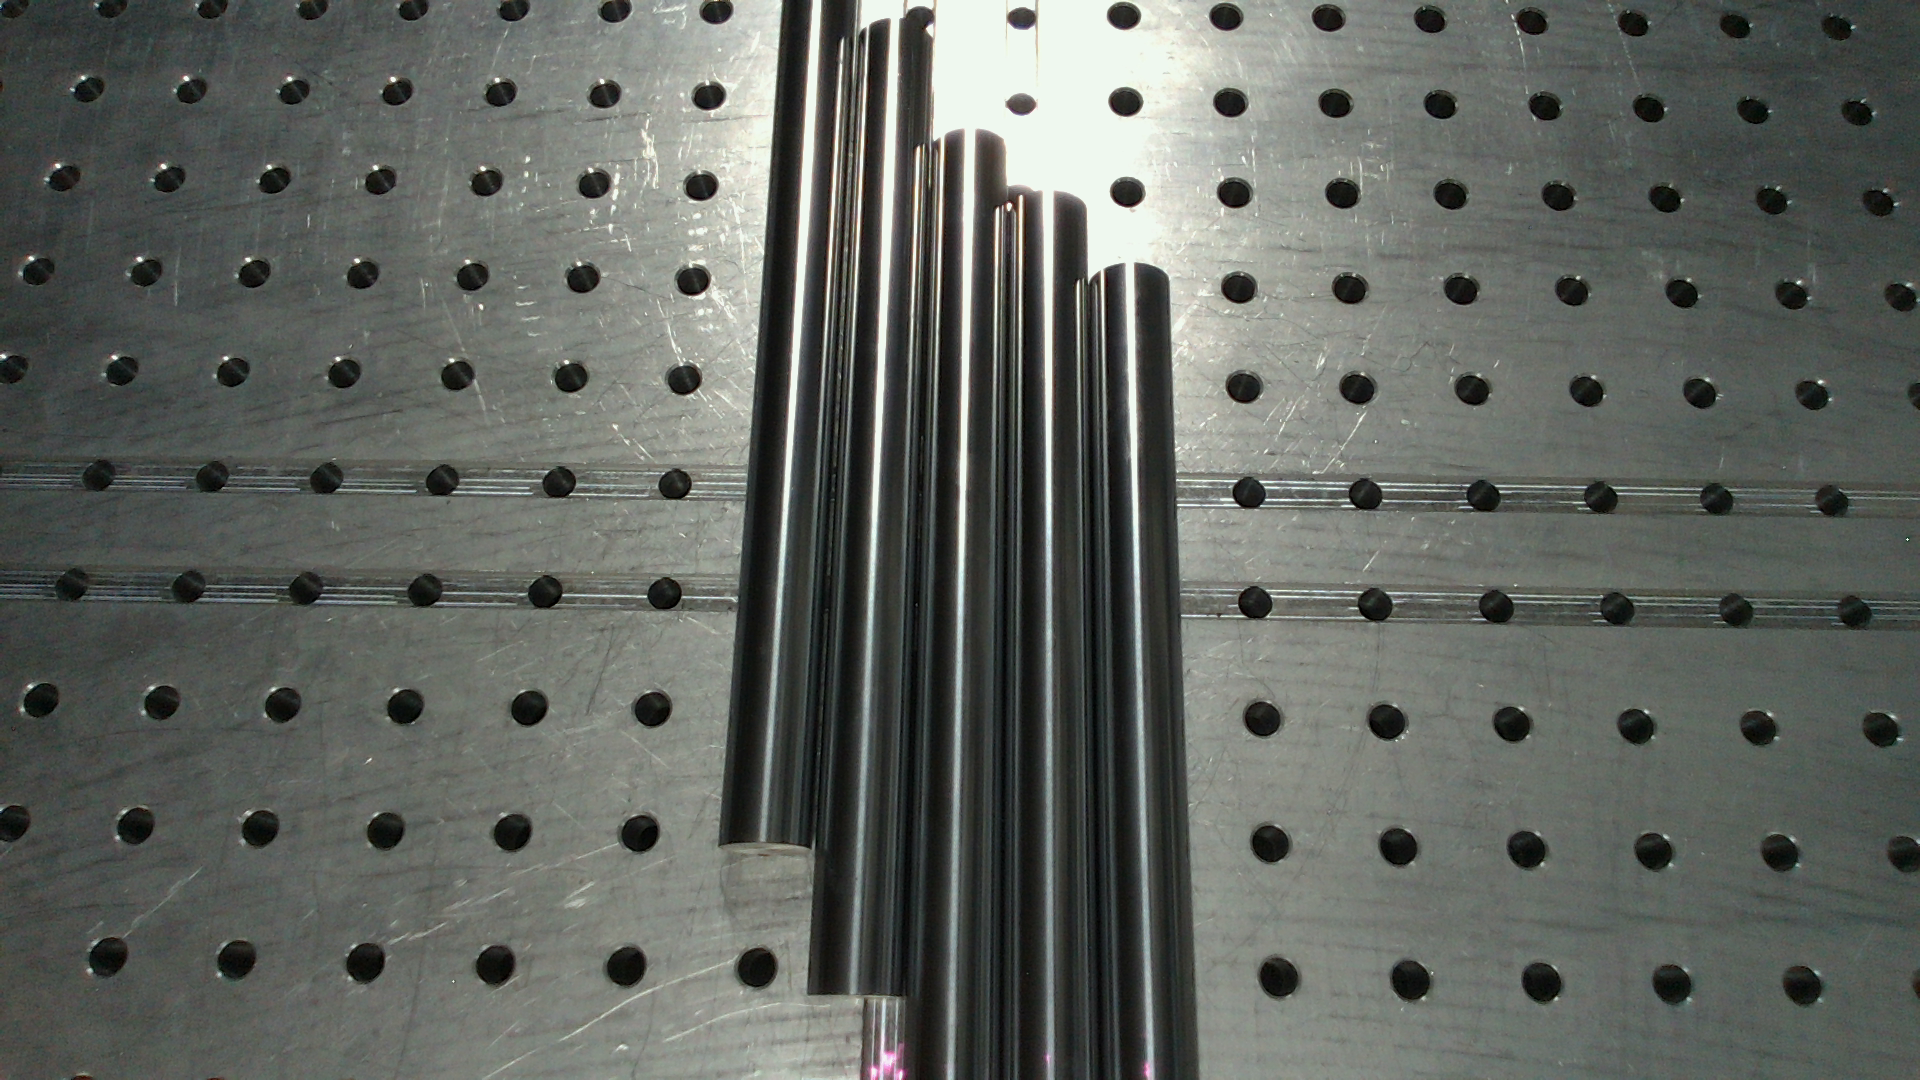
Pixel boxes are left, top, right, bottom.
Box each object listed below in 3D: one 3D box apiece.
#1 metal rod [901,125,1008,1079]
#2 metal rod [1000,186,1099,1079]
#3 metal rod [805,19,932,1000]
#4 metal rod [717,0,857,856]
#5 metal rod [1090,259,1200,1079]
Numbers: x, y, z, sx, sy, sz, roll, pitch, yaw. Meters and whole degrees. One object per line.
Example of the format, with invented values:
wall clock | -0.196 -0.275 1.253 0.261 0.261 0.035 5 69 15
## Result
metal rod | 0.000 0.015 0.391 0.025 0.025 0.300 1 70 0
metal rod | 0.025 0.036 0.383 0.025 0.025 0.300 1 70 0
metal rod | -0.024 -0.023 0.405 0.025 0.025 0.300 1 70 0
metal rod | -0.050 -0.058 0.418 0.025 0.025 0.300 1 70 0
metal rod | 0.049 0.060 0.374 0.025 0.025 0.300 1 70 0
